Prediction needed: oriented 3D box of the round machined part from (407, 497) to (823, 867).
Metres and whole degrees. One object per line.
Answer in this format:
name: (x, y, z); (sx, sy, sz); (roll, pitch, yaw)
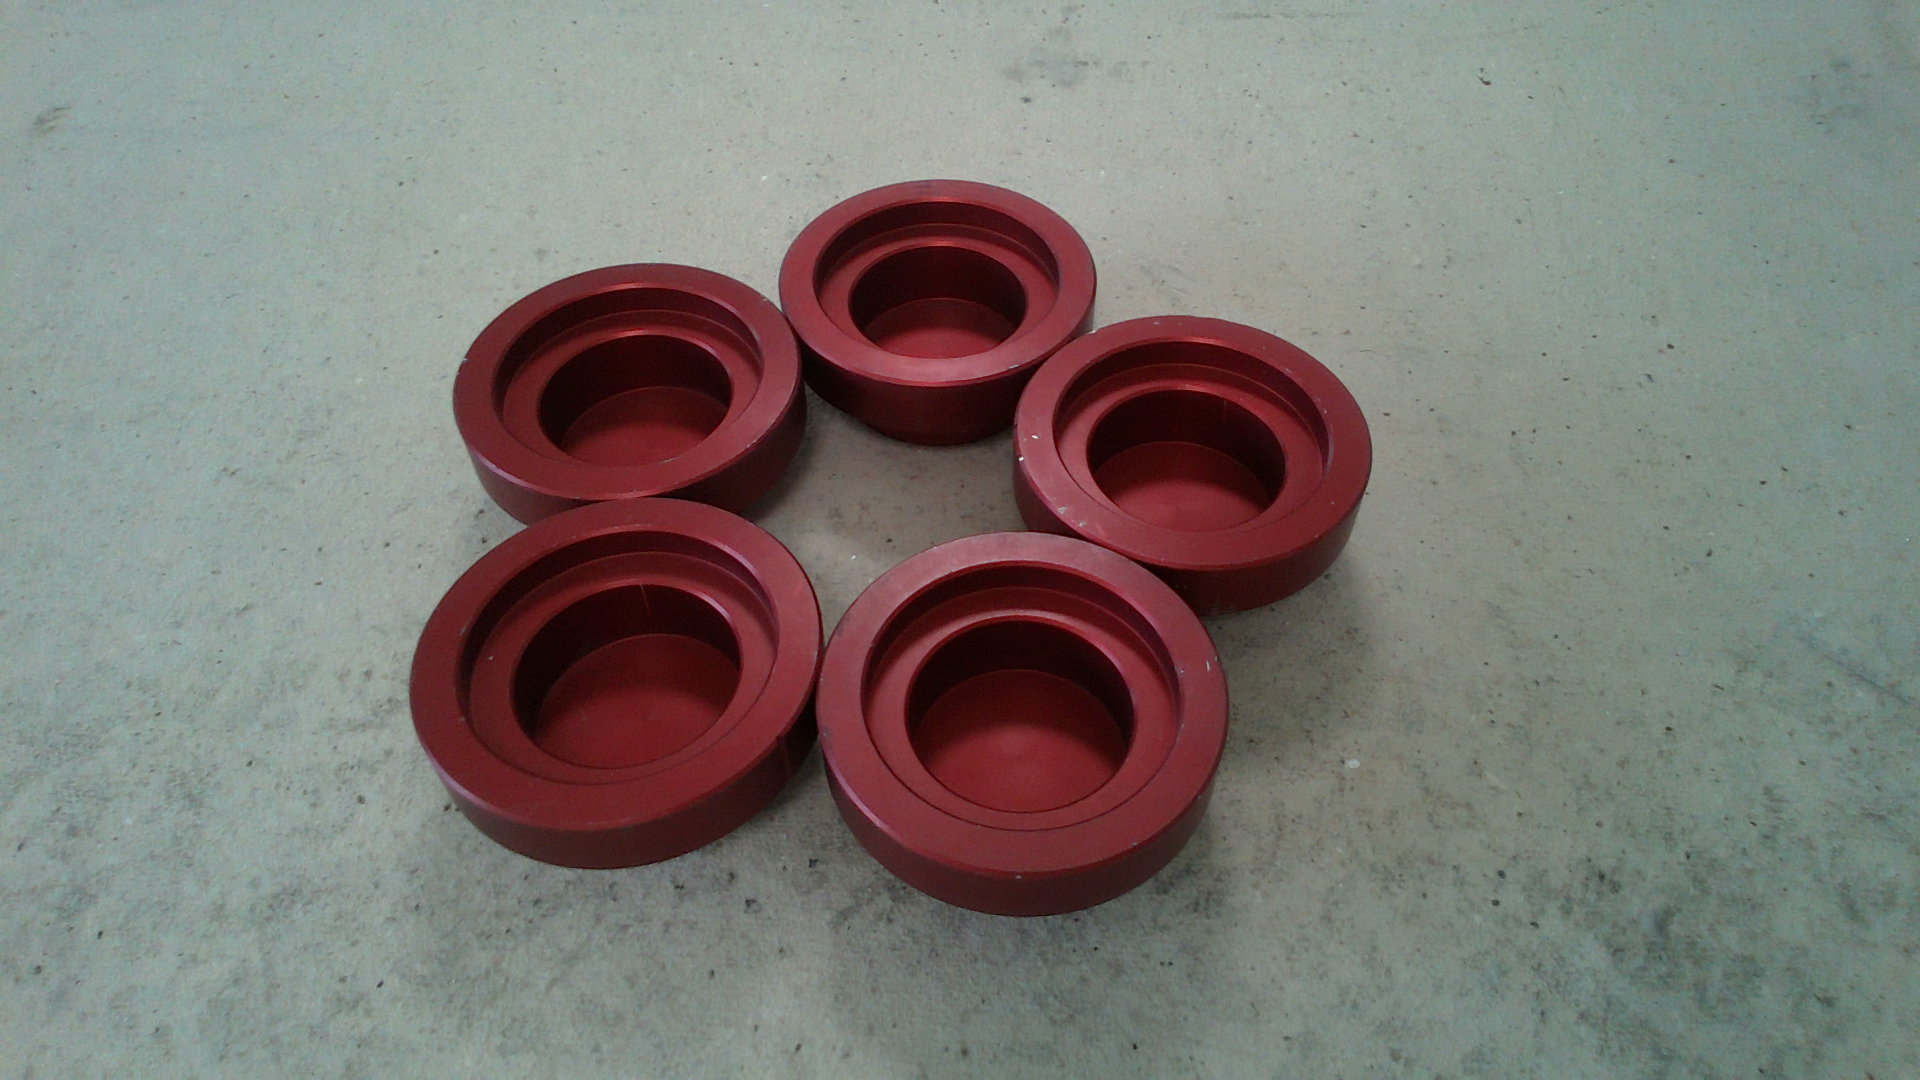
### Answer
round machined part: (-0.083, 0.039, 0.347); (0.098, 0.042, 0.098); (1, 48, -1)

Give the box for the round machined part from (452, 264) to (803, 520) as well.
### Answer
round machined part: (-0.095, -0.036, 0.410); (0.098, 0.042, 0.098); (0, 48, 0)

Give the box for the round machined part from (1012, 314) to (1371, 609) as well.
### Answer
round machined part: (0.063, -0.018, 0.395); (0.098, 0.042, 0.098); (1, 48, -1)

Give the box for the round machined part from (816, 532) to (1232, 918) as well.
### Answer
round machined part: (0.015, 0.048, 0.340); (0.098, 0.042, 0.098); (1, 49, -1)

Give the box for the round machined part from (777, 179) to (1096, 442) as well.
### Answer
round machined part: (-0.007, -0.069, 0.438); (0.098, 0.042, 0.098); (1, 48, -1)
